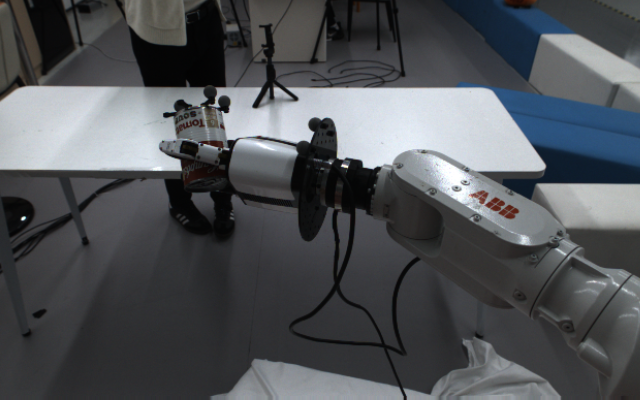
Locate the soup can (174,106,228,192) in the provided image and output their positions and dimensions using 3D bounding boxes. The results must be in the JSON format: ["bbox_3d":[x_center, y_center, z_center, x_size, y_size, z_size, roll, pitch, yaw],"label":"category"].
[{"bbox_3d":[-0.157,-0.066,0.654,0.067,0.067,0.101,-10,79,-17],"label":"soup can"}]
